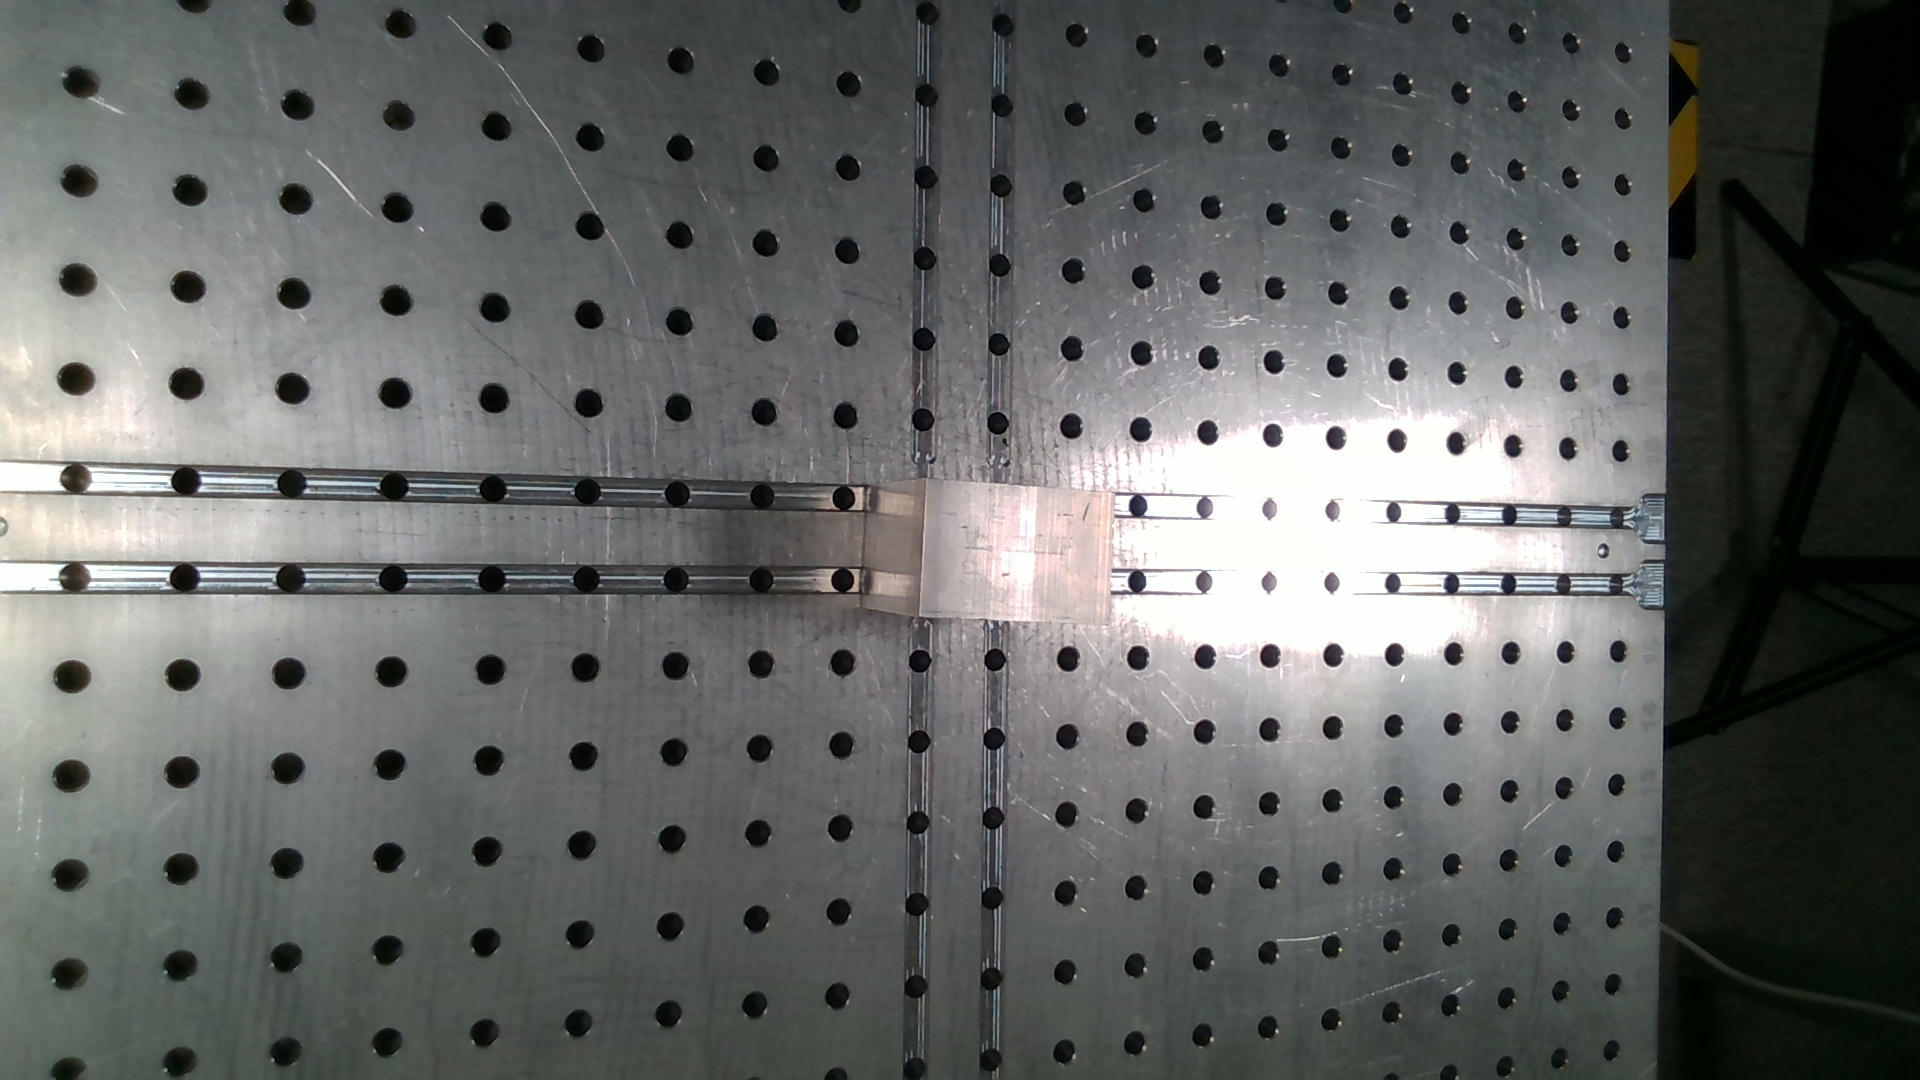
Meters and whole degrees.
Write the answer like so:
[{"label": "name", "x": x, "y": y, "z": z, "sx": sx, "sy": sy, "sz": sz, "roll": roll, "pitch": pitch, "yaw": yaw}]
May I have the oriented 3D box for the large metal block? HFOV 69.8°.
[{"label": "large metal block", "x": 0.009, "y": 0.005, "z": 0.562, "sx": 0.080, "sy": 0.080, "sz": 0.050, "roll": 4, "pitch": 89, "yaw": -20}]
